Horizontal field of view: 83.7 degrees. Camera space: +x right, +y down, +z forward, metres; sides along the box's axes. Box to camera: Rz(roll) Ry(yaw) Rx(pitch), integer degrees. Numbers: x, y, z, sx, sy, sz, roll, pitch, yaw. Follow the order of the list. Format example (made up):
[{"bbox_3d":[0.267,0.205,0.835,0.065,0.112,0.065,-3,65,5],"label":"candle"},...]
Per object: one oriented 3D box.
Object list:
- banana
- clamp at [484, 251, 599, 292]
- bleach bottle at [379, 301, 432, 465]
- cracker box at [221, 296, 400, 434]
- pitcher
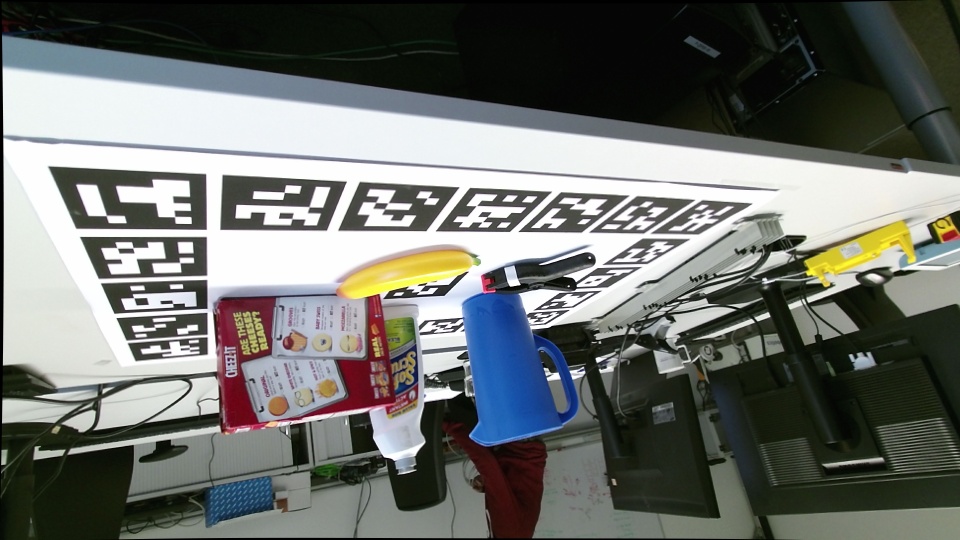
[{"bbox_3d":[-0.097,-0.002,0.712,0.198,0.038,0.074,-14,161,4],"label":"banana"},{"bbox_3d":[0.089,0.009,0.834,0.166,0.036,0.122,-6,161,-12],"label":"clamp"},{"bbox_3d":[-0.119,0.177,0.855,0.103,0.249,0.068,-2,159,-28],"label":"bleach bottle"},{"bbox_3d":[-0.229,0.126,0.730,0.214,0.163,0.072,-3,161,-31],"label":"cracker box"},{"bbox_3d":[0.068,0.175,0.905,0.189,0.241,0.133,-7,160,-10],"label":"pitcher"}]
